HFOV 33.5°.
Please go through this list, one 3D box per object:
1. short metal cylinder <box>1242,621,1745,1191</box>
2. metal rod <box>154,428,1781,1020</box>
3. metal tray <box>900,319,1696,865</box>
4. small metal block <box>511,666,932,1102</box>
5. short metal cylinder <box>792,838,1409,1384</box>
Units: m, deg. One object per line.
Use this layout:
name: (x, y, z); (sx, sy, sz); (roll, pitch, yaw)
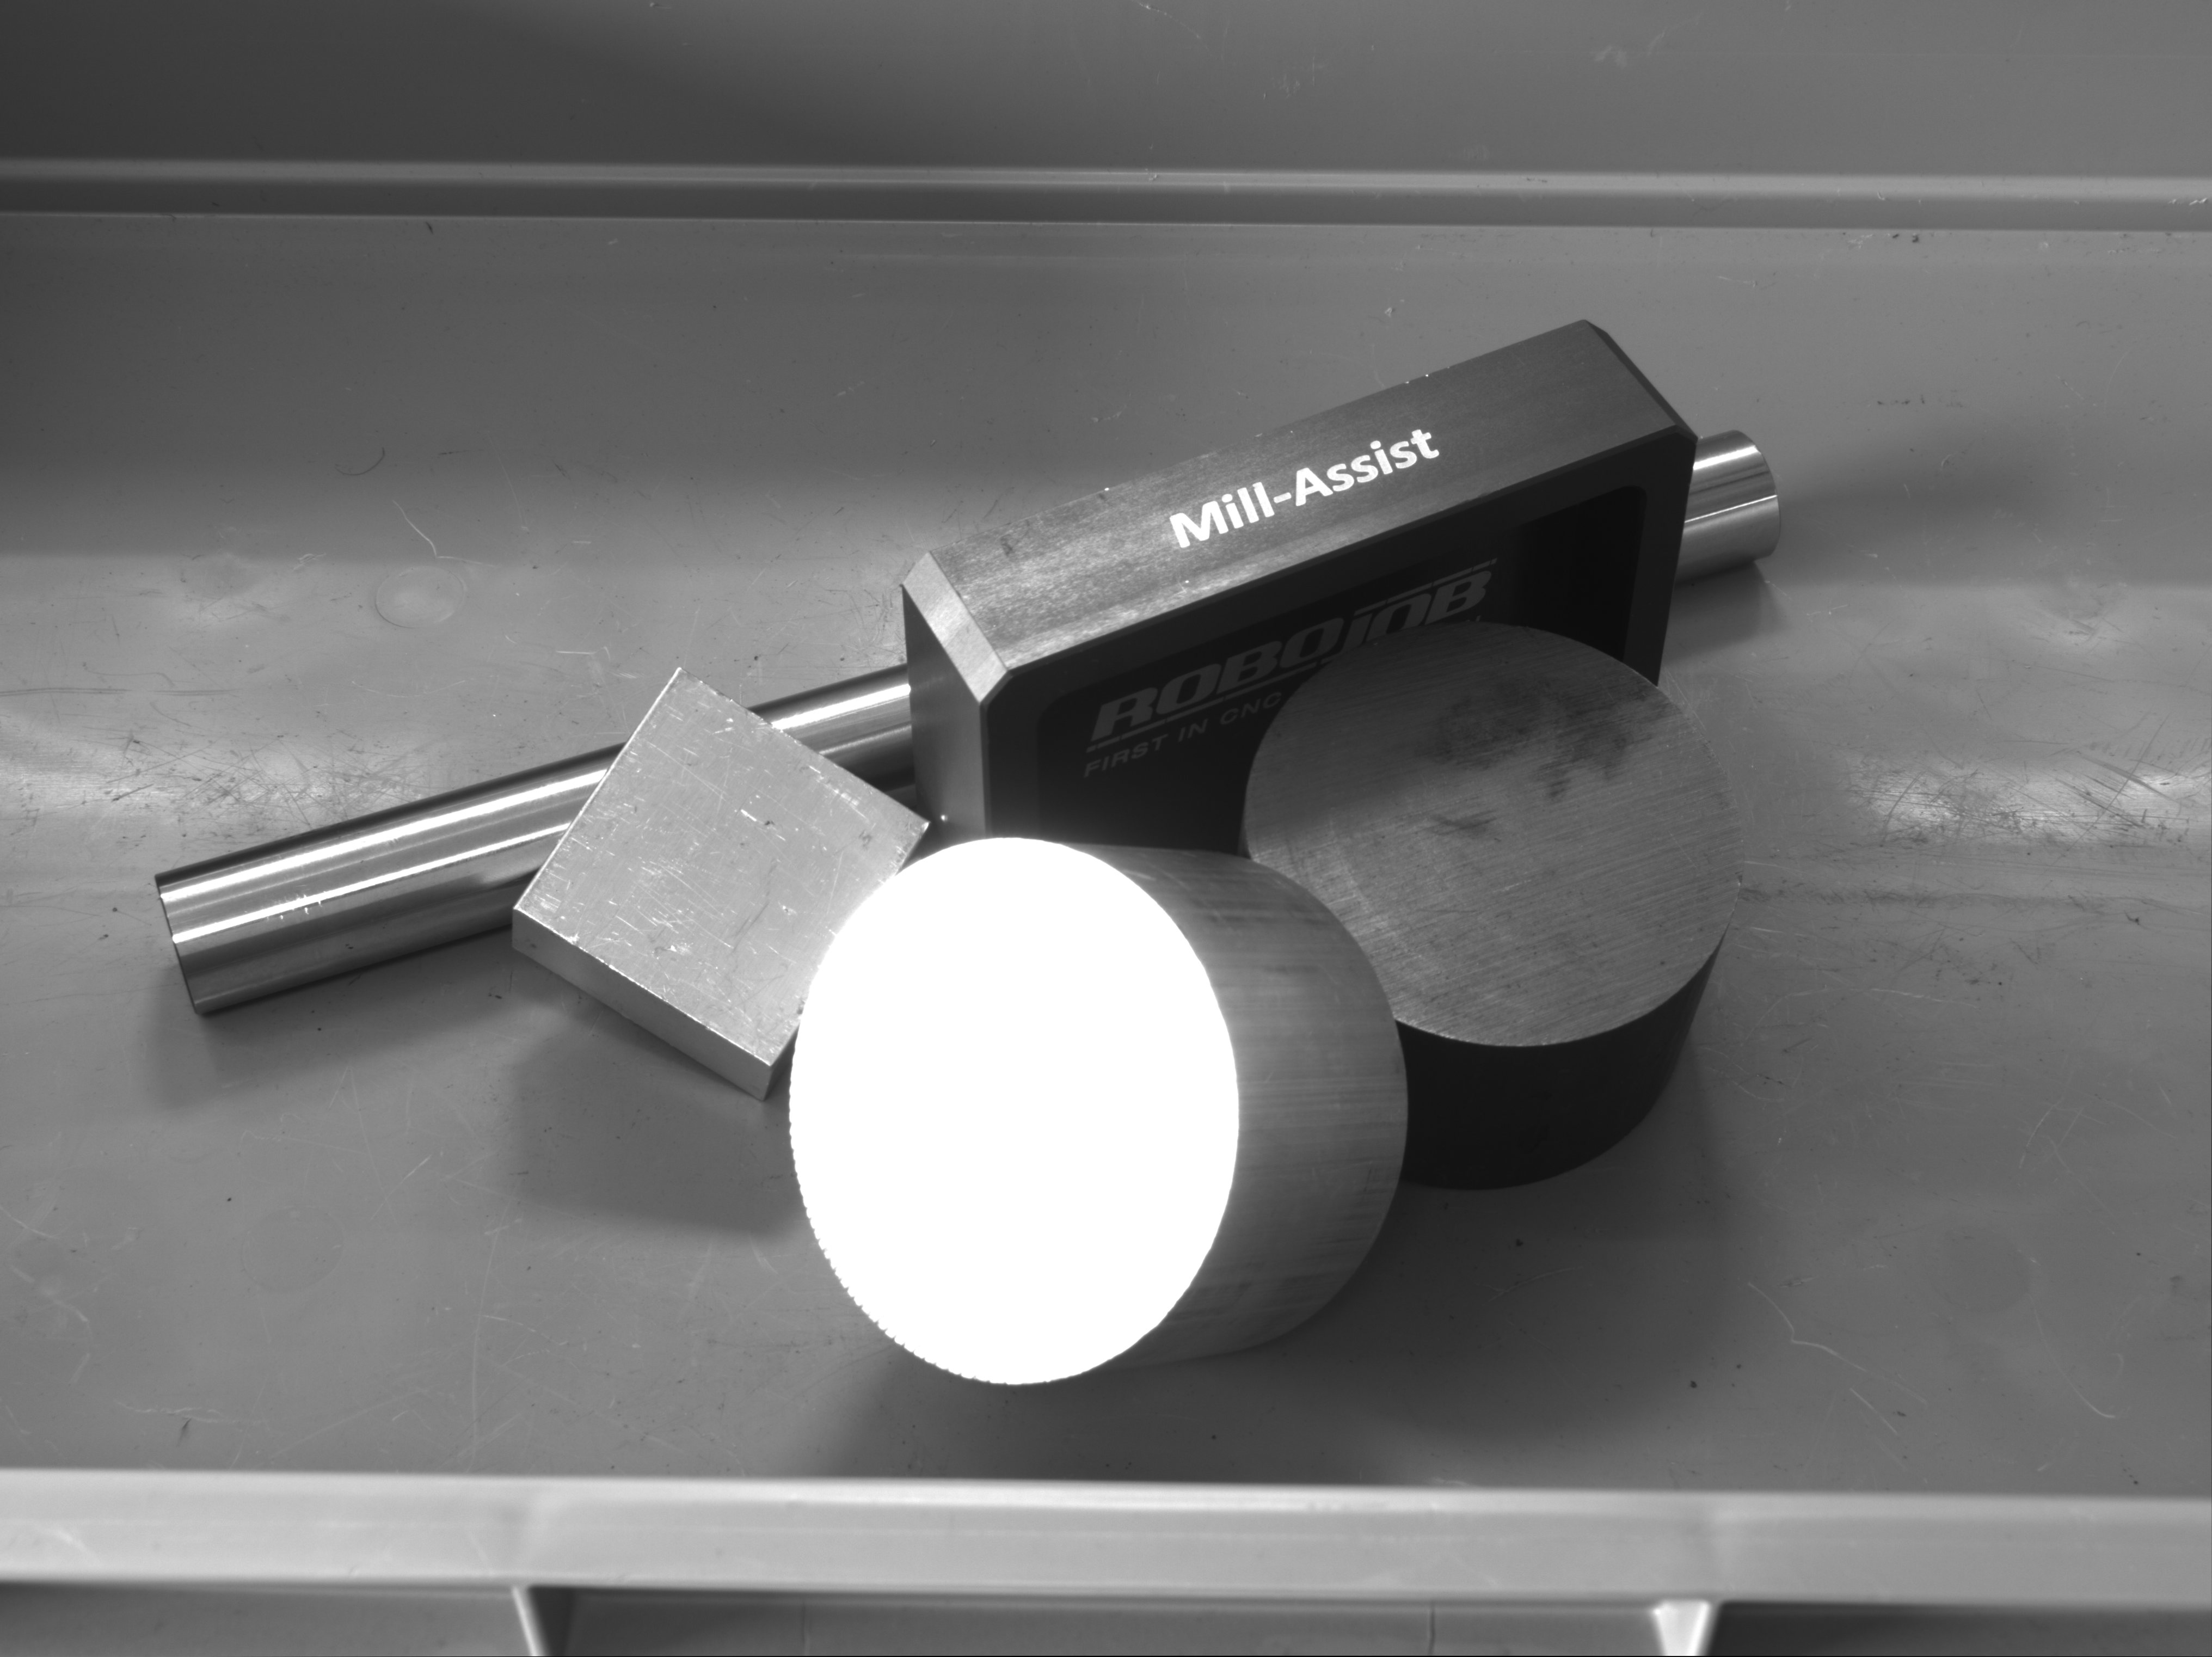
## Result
short metal cylinder: (0.061, 0.013, 0.607); (0.080, 0.050, 0.080); (2, 58, -3)
metal rod: (-0.018, -0.022, 0.659); (0.300, 0.025, 0.025); (-17, 52, -14)
metal tray: (0.032, -0.026, 0.620); (0.130, 0.090, 0.030); (-21, 53, -17)
small metal block: (-0.065, 0.010, 0.616); (0.050, 0.025, 0.050); (32, 71, 2)
short metal cylinder: (-0.001, 0.042, 0.560); (0.080, 0.080, 0.050); (40, 19, 28)
